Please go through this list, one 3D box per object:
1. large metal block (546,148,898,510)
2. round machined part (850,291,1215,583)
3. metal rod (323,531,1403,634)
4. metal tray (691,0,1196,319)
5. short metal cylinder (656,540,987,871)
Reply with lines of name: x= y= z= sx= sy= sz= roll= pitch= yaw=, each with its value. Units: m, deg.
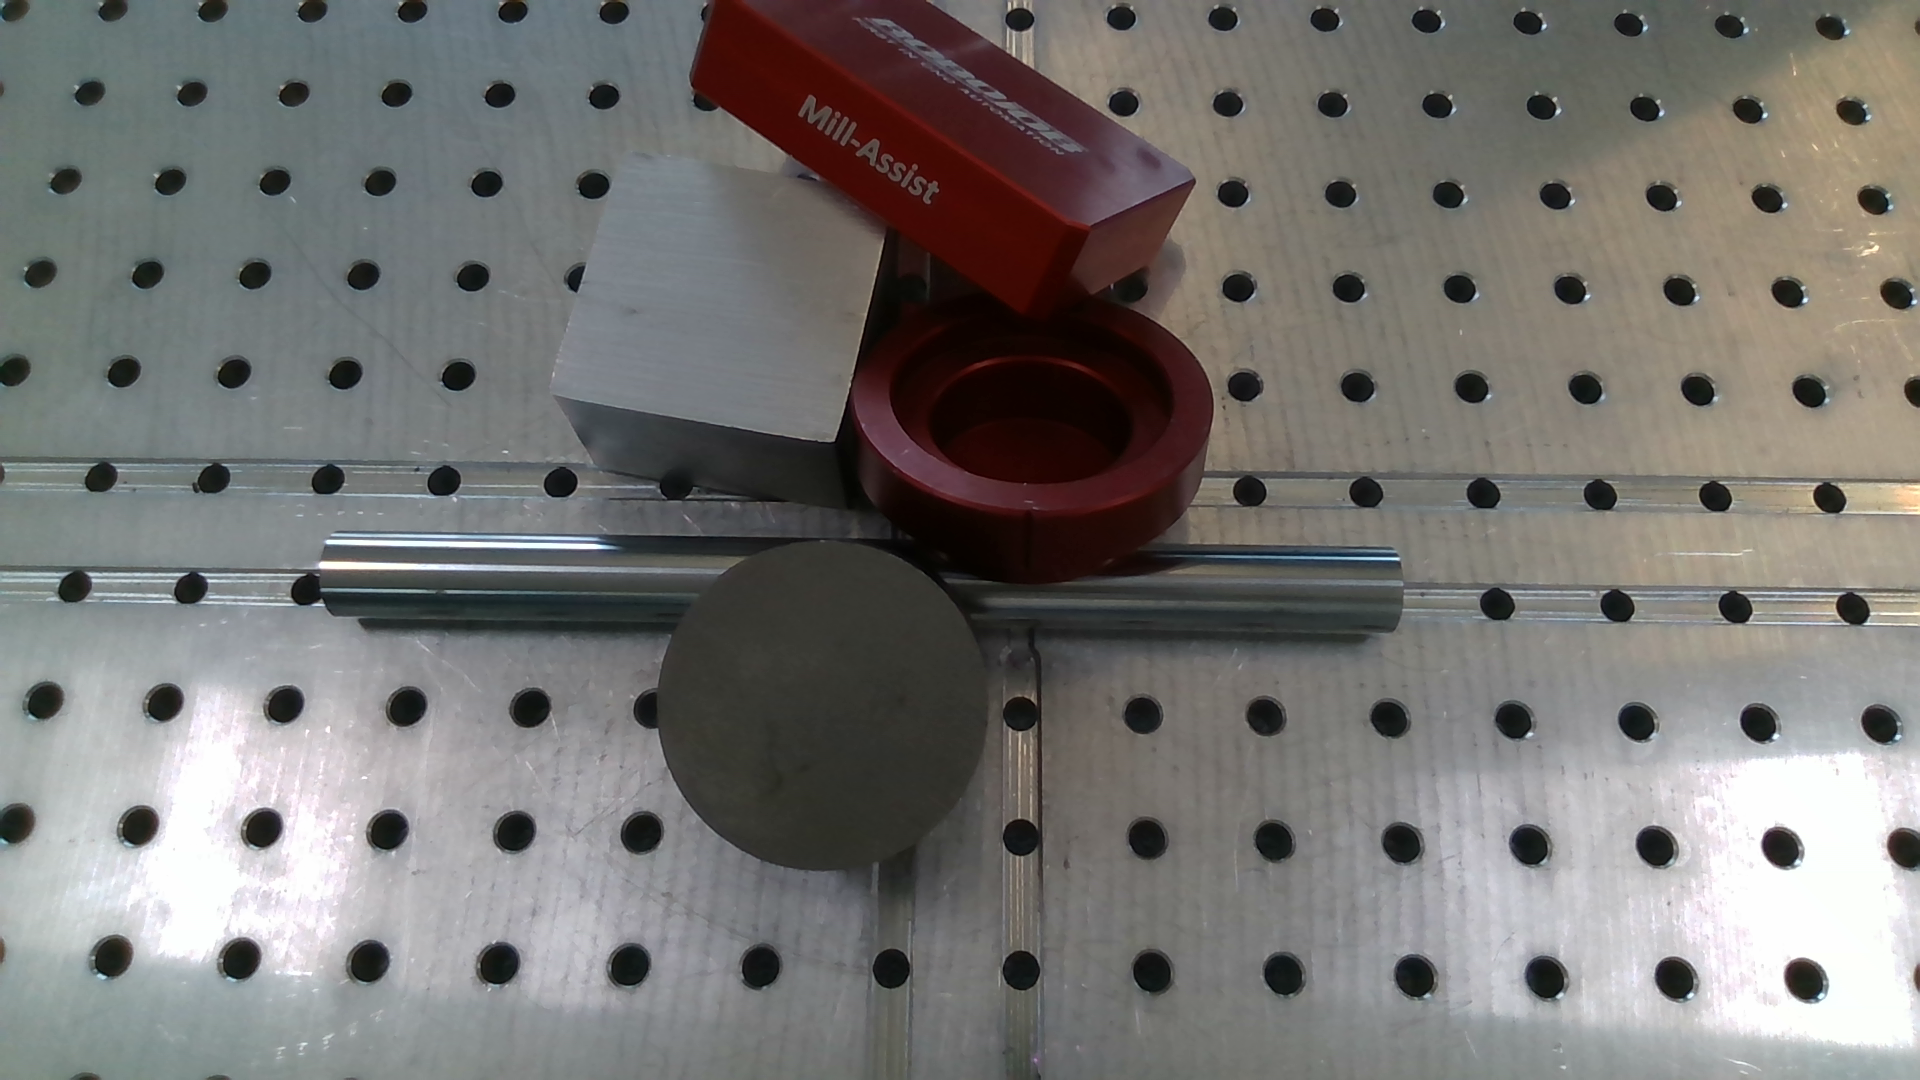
large metal block: x=-0.065 y=-0.061 z=0.407 sx=0.080 sy=0.050 sz=0.080 roll=10 pitch=71 yaw=3
round machined part: x=0.019 y=-0.026 z=0.385 sx=0.098 sy=0.042 sz=0.098 roll=1 pitch=45 yaw=-1
metal rod: x=-0.027 y=0.012 z=0.395 sx=0.300 sy=0.025 sz=0.025 roll=1 pitch=70 yaw=0
metal tray: x=-0.003 y=-0.123 z=0.413 sx=0.130 sy=0.030 sz=0.090 roll=36 pitch=36 yaw=12
short metal cylinder: x=-0.033 y=0.040 z=0.357 sx=0.080 sy=0.050 sz=0.080 roll=0 pitch=91 yaw=0
